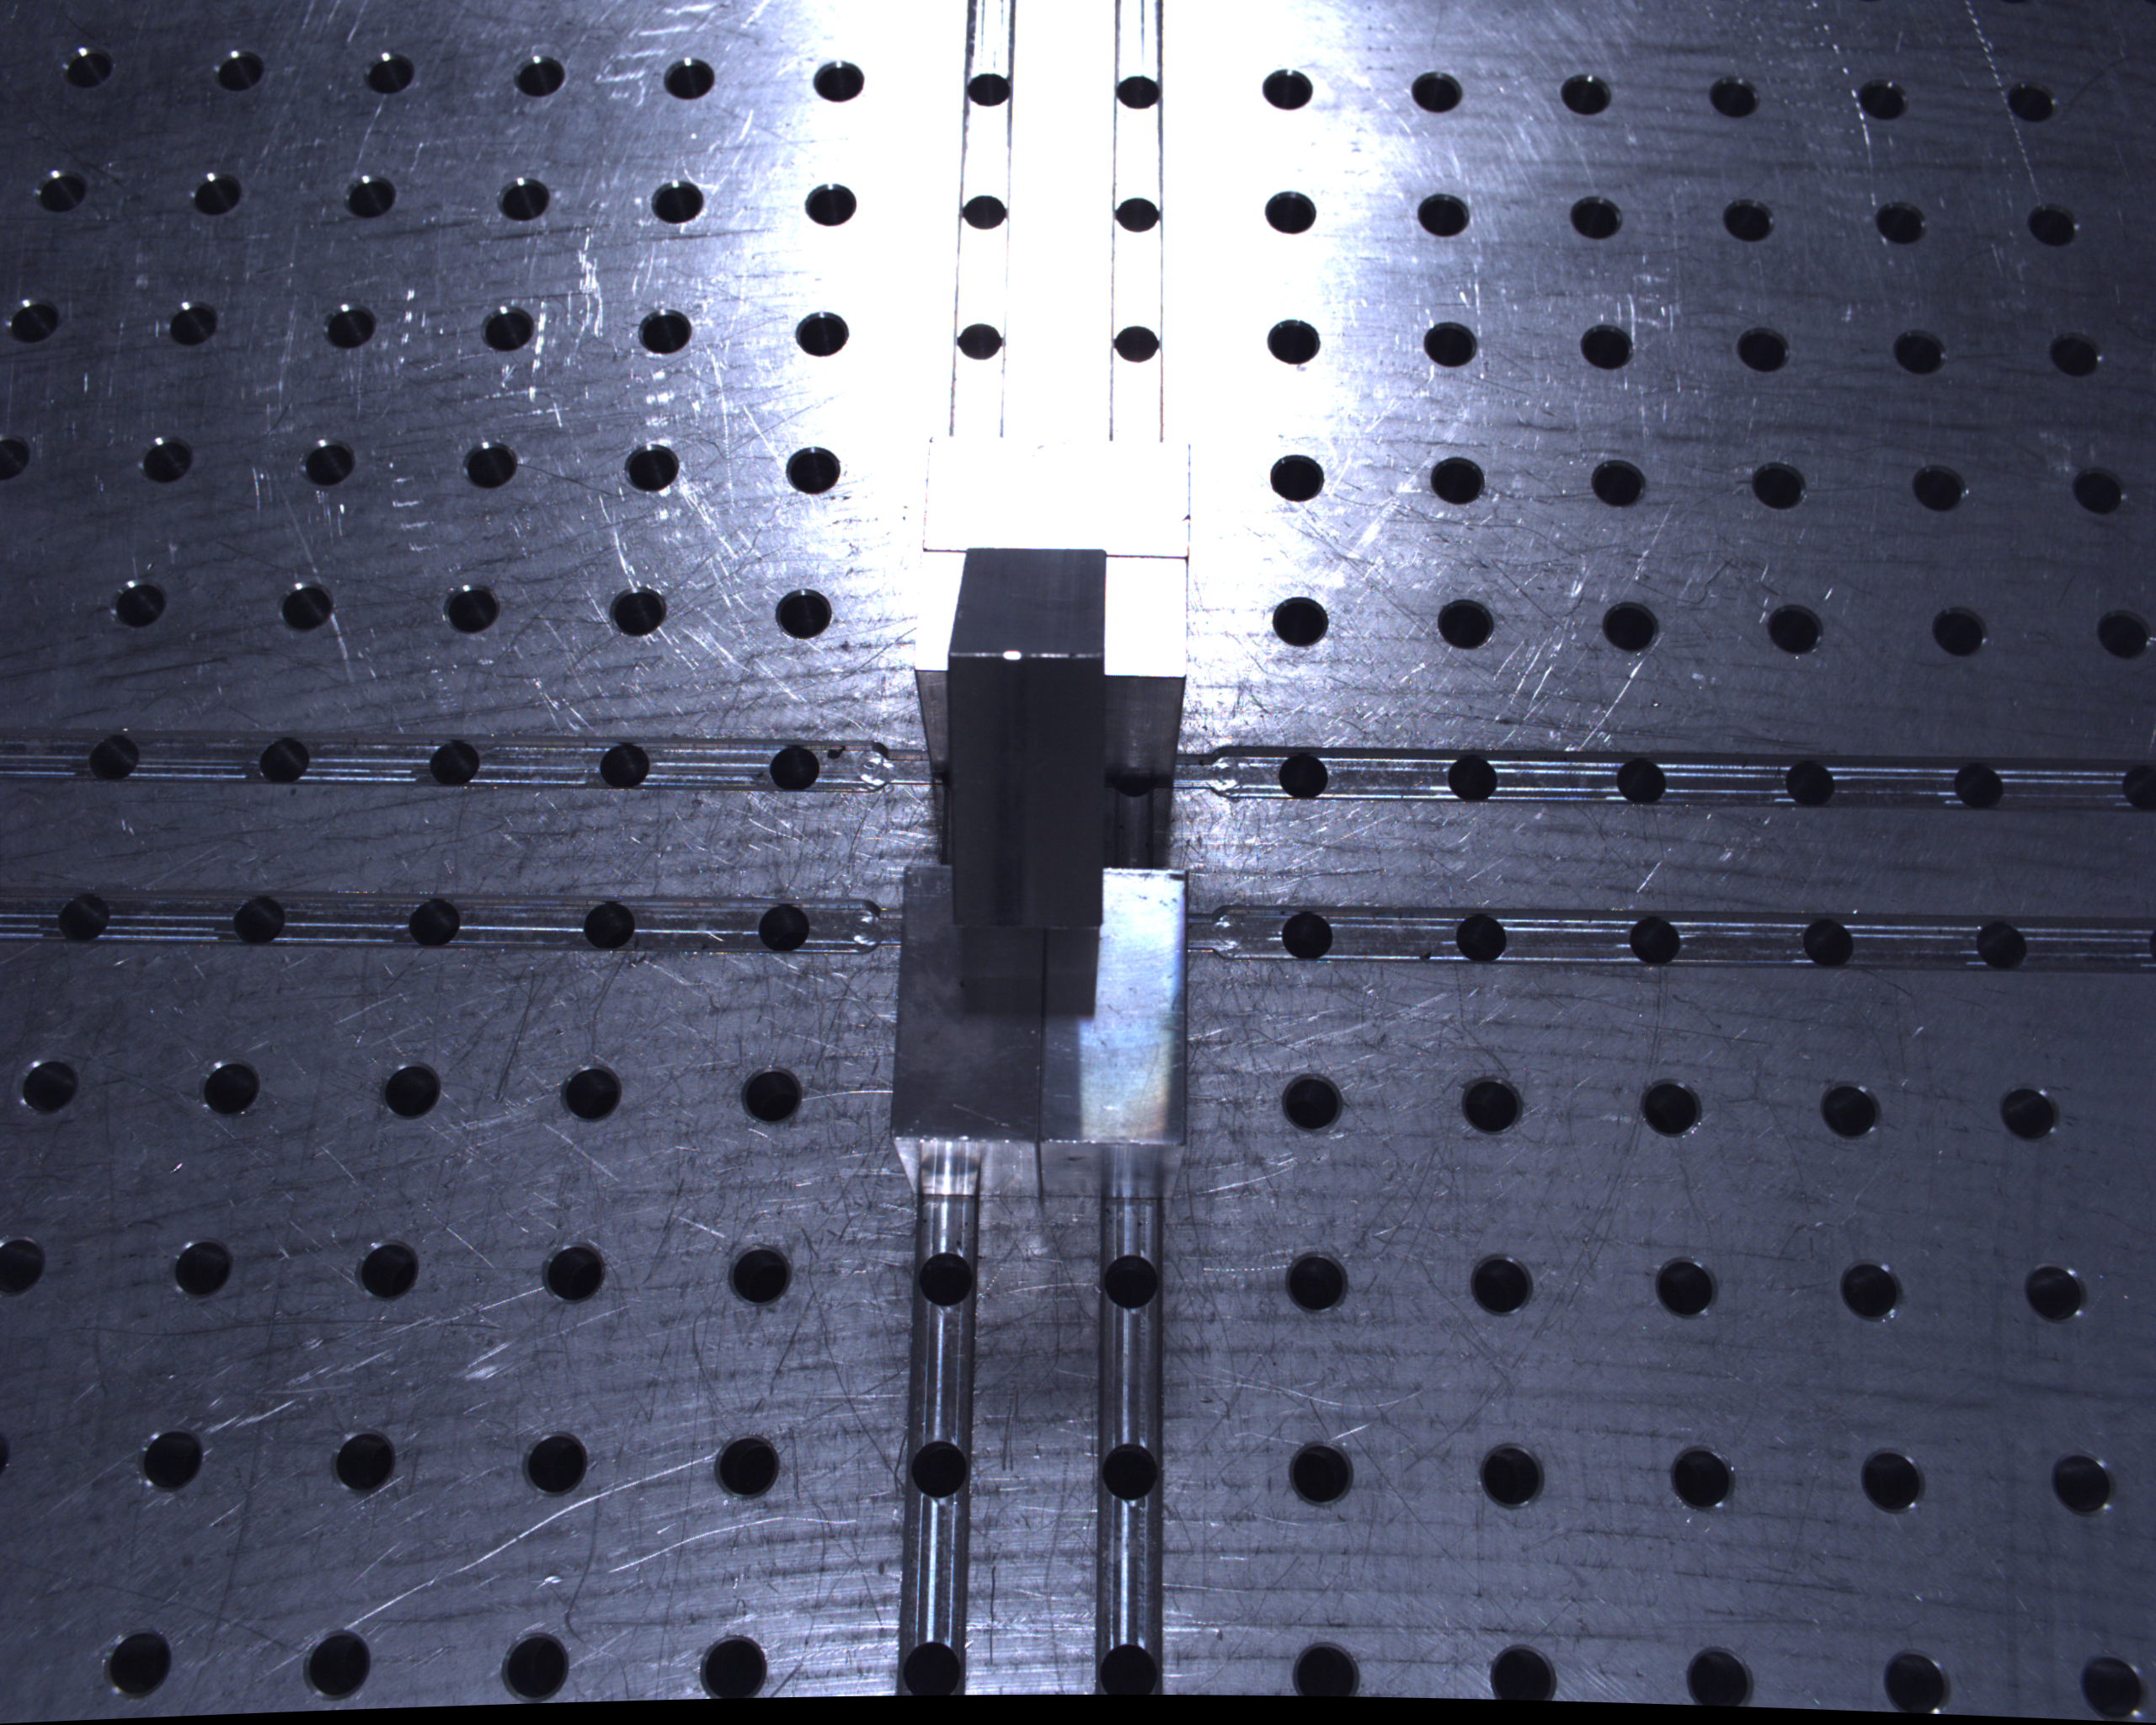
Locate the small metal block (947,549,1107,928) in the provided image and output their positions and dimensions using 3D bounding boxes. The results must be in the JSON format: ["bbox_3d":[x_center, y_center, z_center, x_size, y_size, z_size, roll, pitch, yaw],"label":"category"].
[{"bbox_3d":[-0.008,-0.023,0.363,0.025,0.050,0.050,0,28,1],"label":"small metal block"}]

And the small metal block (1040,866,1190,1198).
[{"bbox_3d":[0.007,0.032,0.385,0.025,0.050,0.050,1,70,0],"label":"small metal block"}]

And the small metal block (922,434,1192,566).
[{"bbox_3d":[-0.004,-0.062,0.420,0.050,0.050,0.025,2,70,0],"label":"small metal block"}]

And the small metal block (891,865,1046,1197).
[{"bbox_3d":[-0.019,0.032,0.386,0.025,0.050,0.050,1,70,0],"label":"small metal block"}]

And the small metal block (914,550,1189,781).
[{"bbox_3d":[-0.005,-0.038,0.412,0.050,0.050,0.025,2,70,0],"label":"small metal block"}]
